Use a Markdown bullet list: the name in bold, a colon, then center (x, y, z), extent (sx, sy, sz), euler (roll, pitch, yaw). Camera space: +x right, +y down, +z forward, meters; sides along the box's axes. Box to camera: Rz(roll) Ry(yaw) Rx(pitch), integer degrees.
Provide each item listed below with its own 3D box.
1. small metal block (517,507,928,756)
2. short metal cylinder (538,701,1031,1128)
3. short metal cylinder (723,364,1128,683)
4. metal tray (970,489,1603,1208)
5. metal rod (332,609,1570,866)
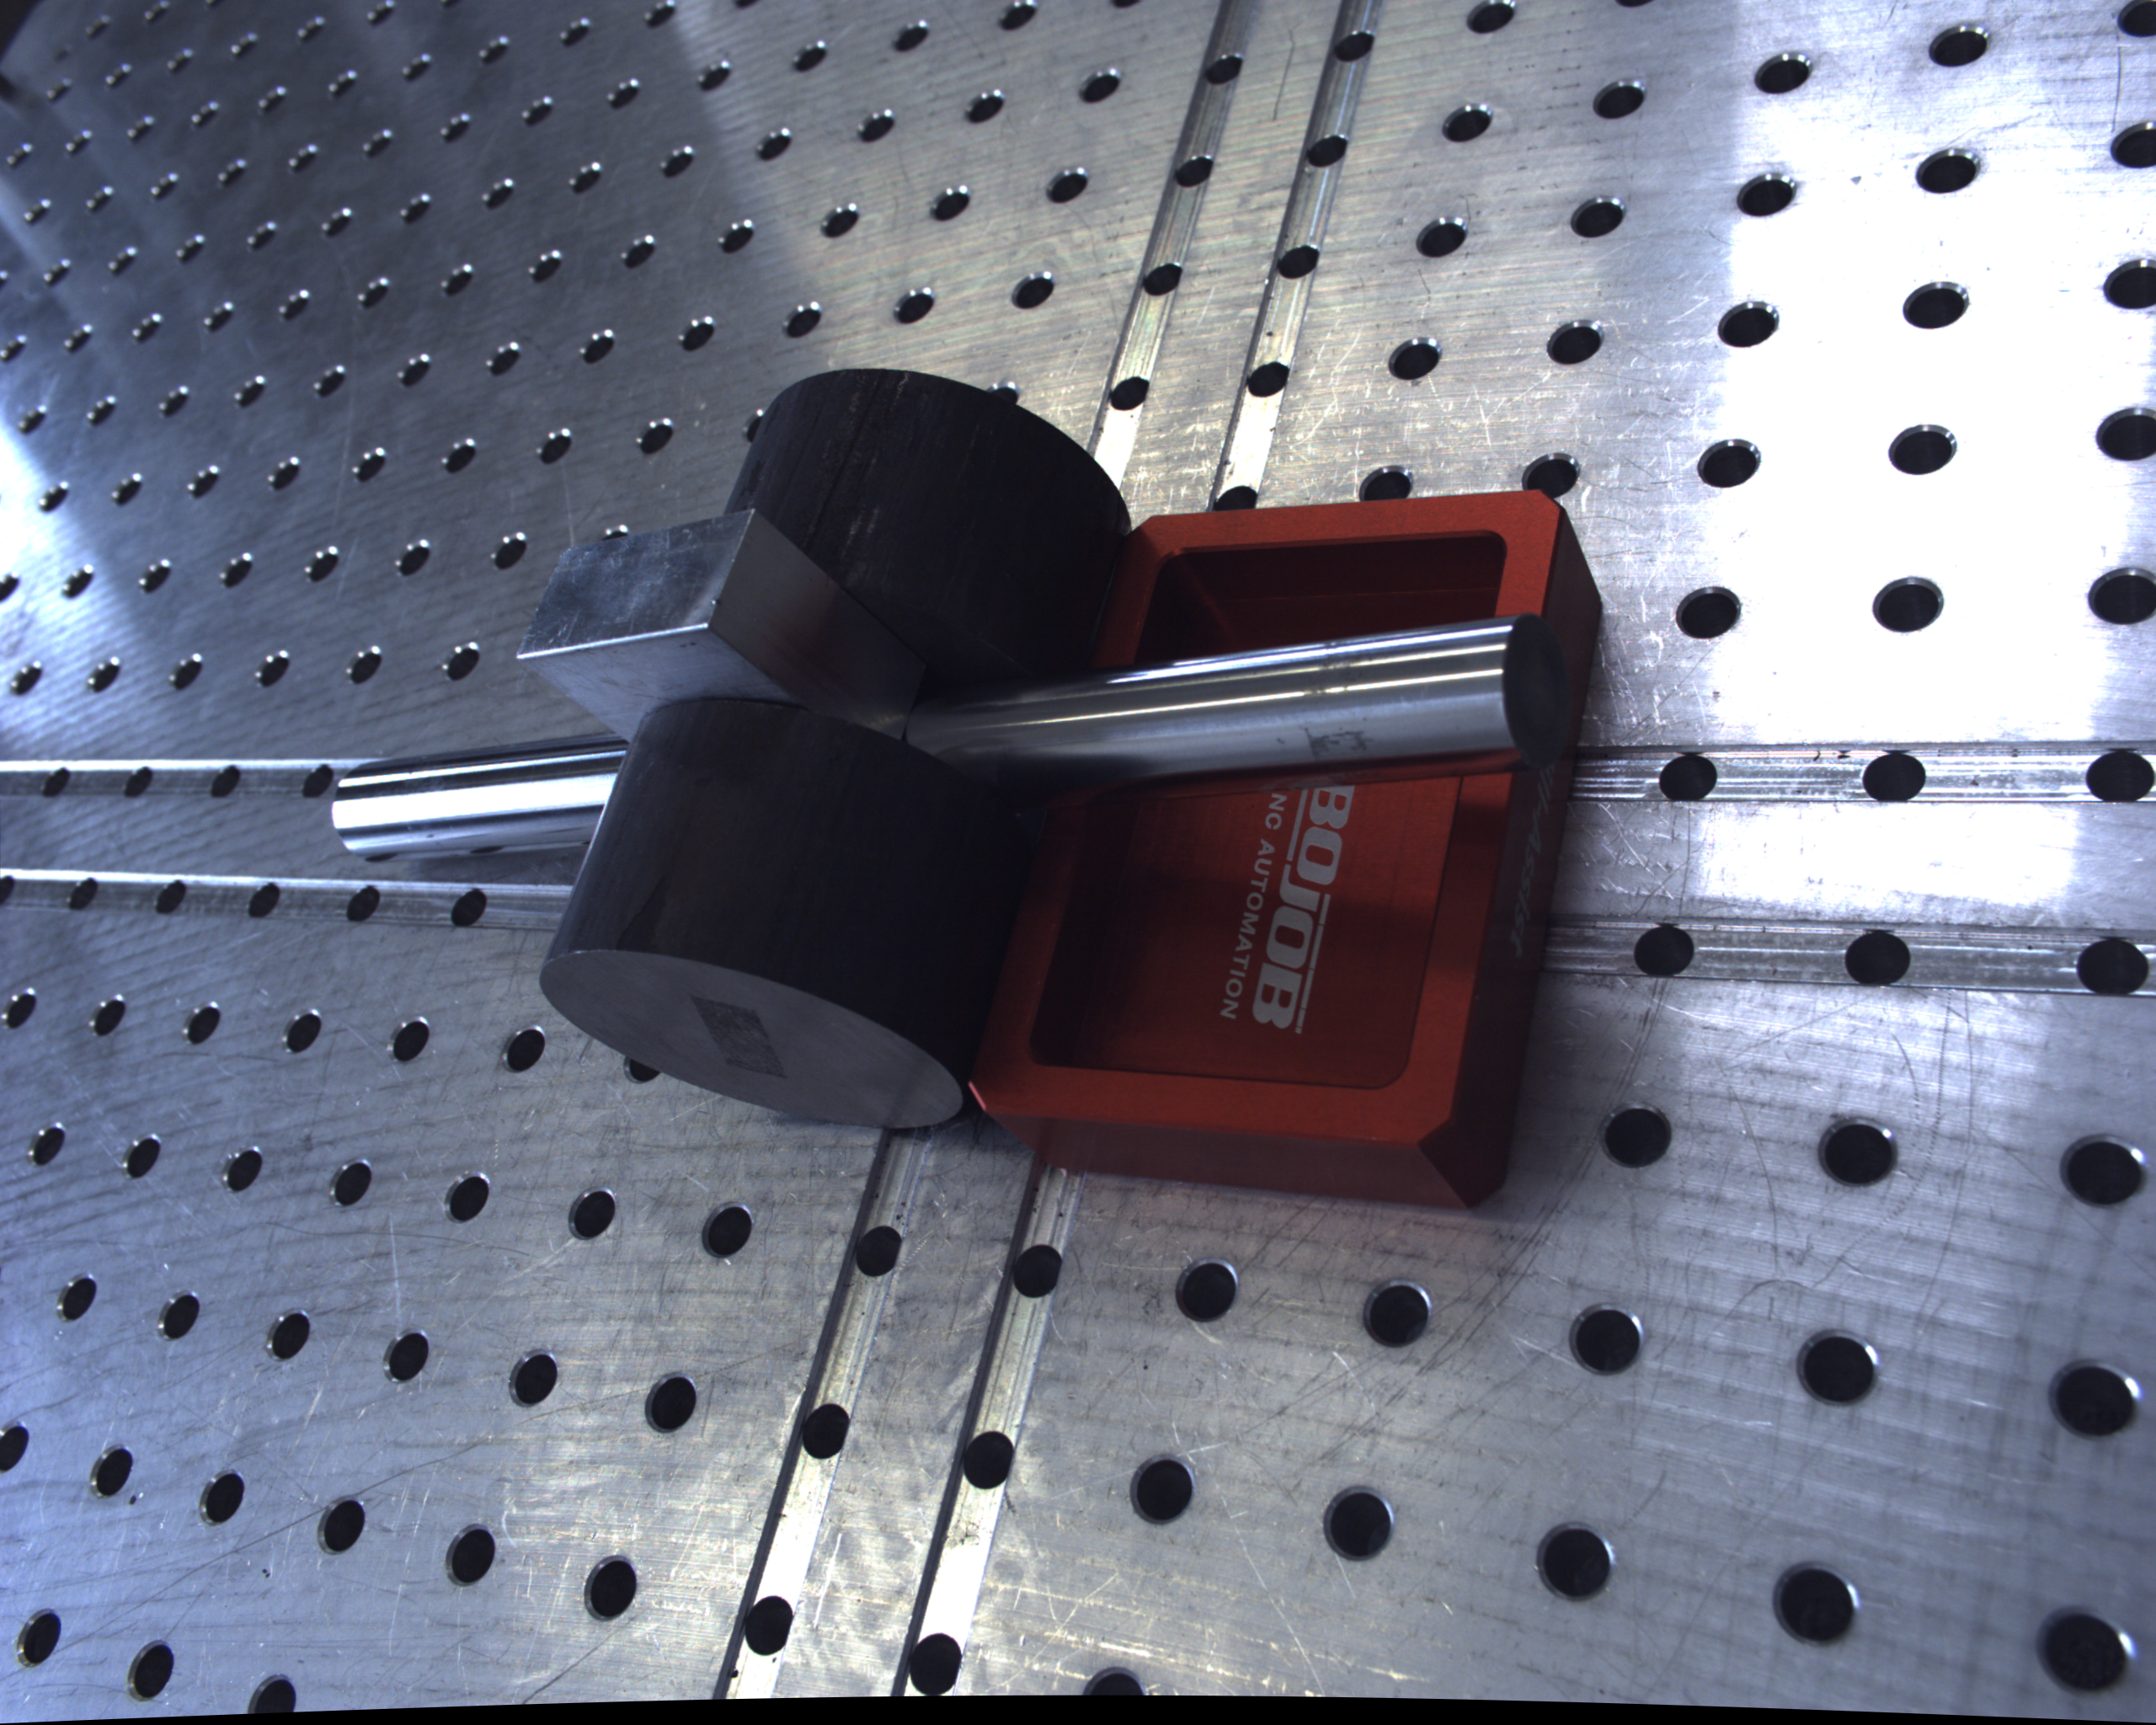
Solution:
- **small metal block**: center (-0.065, -0.038, 0.389), extent (0.050, 0.050, 0.025), euler (-4, 60, 36)
- **short metal cylinder**: center (-0.054, 0.012, 0.393), extent (0.080, 0.080, 0.050), euler (2, 63, 29)
- **short metal cylinder**: center (-0.035, -0.055, 0.423), extent (0.080, 0.080, 0.050), euler (1, 62, 28)
- **metal tray**: center (0.041, -0.006, 0.387), extent (0.090, 0.030, 0.130), euler (1, 62, 28)
- **metal rod**: center (-0.049, -0.020, 0.416), extent (0.300, 0.025, 0.025), euler (-4, 60, 36)
